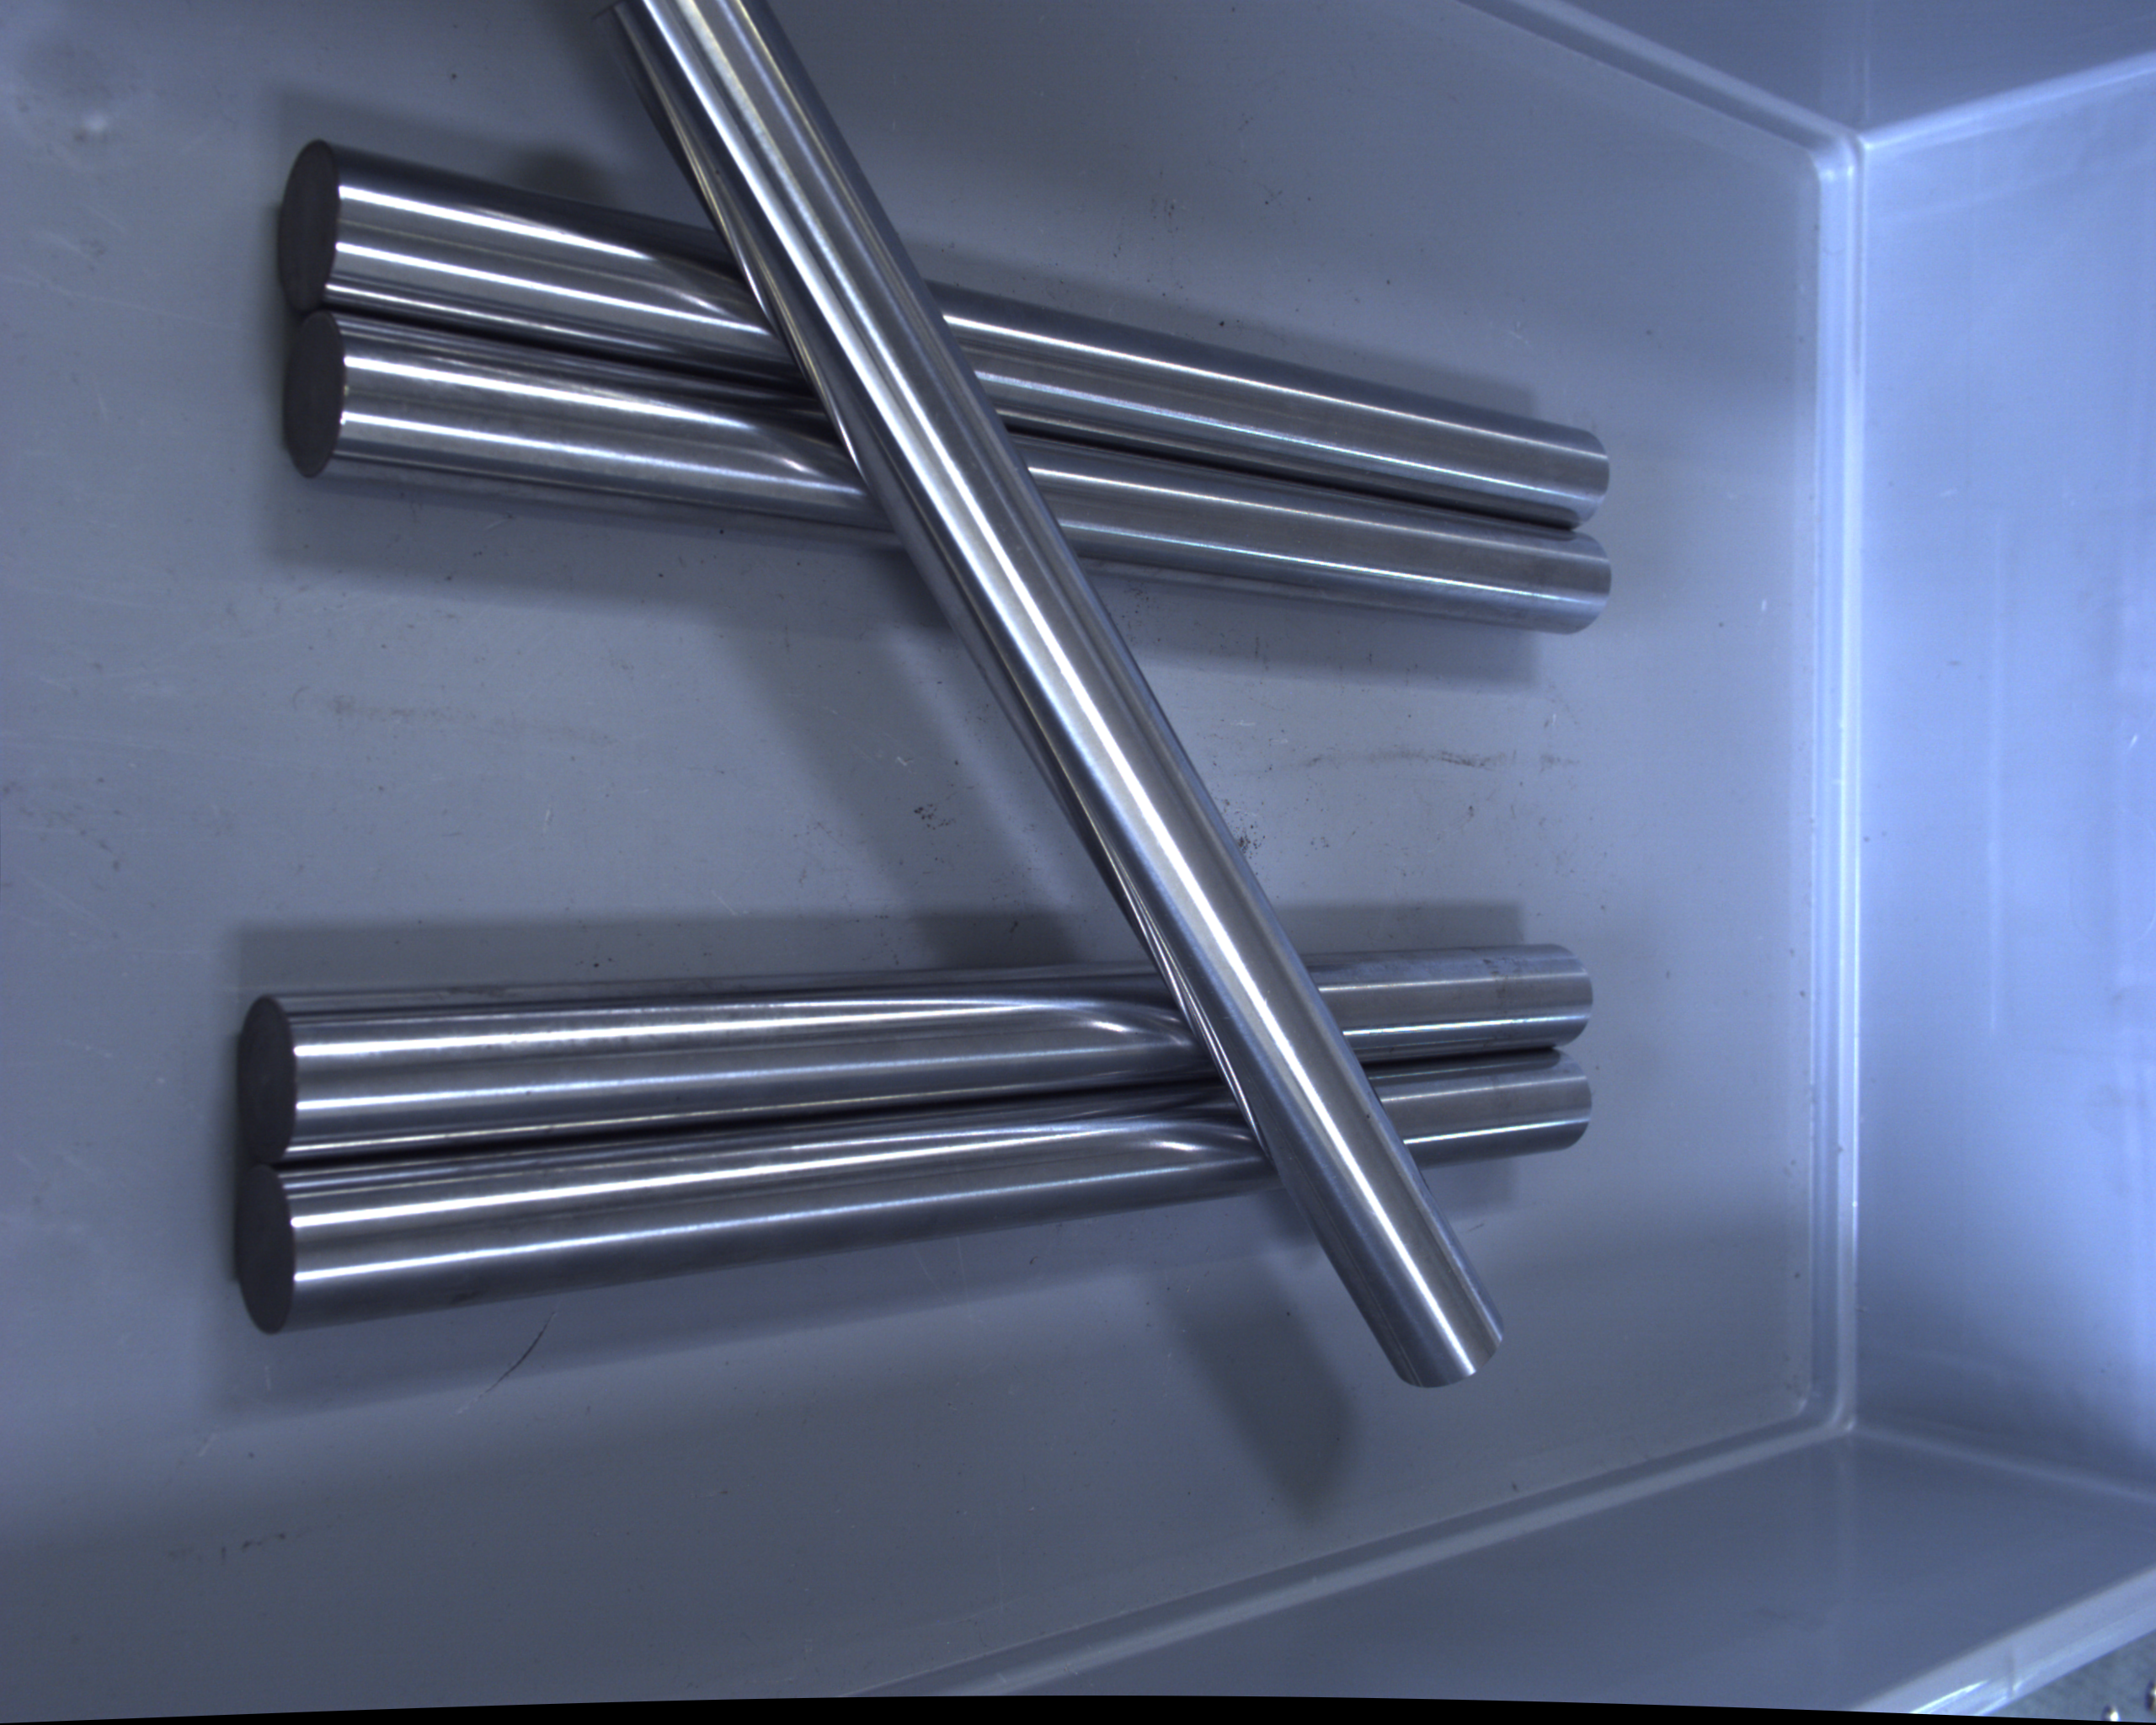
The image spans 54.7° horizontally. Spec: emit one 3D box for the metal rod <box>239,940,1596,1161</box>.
[{"bbox_3d":[-0.002,0.031,0.402,0.302,0.025,0.025,0,90,-40],"label":"metal rod"}]

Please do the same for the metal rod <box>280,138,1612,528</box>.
[{"bbox_3d":[0.002,-0.093,0.406,0.302,0.025,0.025,1,90,-40],"label":"metal rod"}]

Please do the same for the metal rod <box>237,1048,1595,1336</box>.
[{"bbox_3d":[-0.003,0.056,0.402,0.302,0.025,0.025,0,90,-40],"label":"metal rod"}]

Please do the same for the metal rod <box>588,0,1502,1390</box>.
[{"bbox_3d":[0.006,-0.017,0.378,0.025,0.025,0.299,-46,117,-30],"label":"metal rod"}]

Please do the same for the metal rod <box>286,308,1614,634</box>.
[{"bbox_3d":[0.003,-0.068,0.406,0.302,0.025,0.025,1,90,-40],"label":"metal rod"}]
